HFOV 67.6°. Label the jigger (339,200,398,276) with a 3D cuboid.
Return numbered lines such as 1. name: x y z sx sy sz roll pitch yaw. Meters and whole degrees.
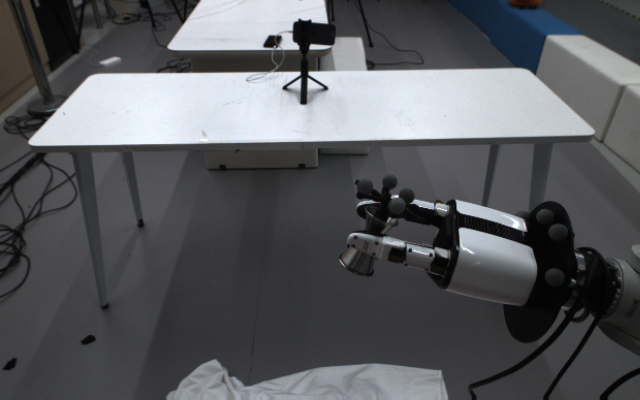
1. jigger: 0.053 0.045 0.540 0.043 0.071 0.043 23 19 -8
